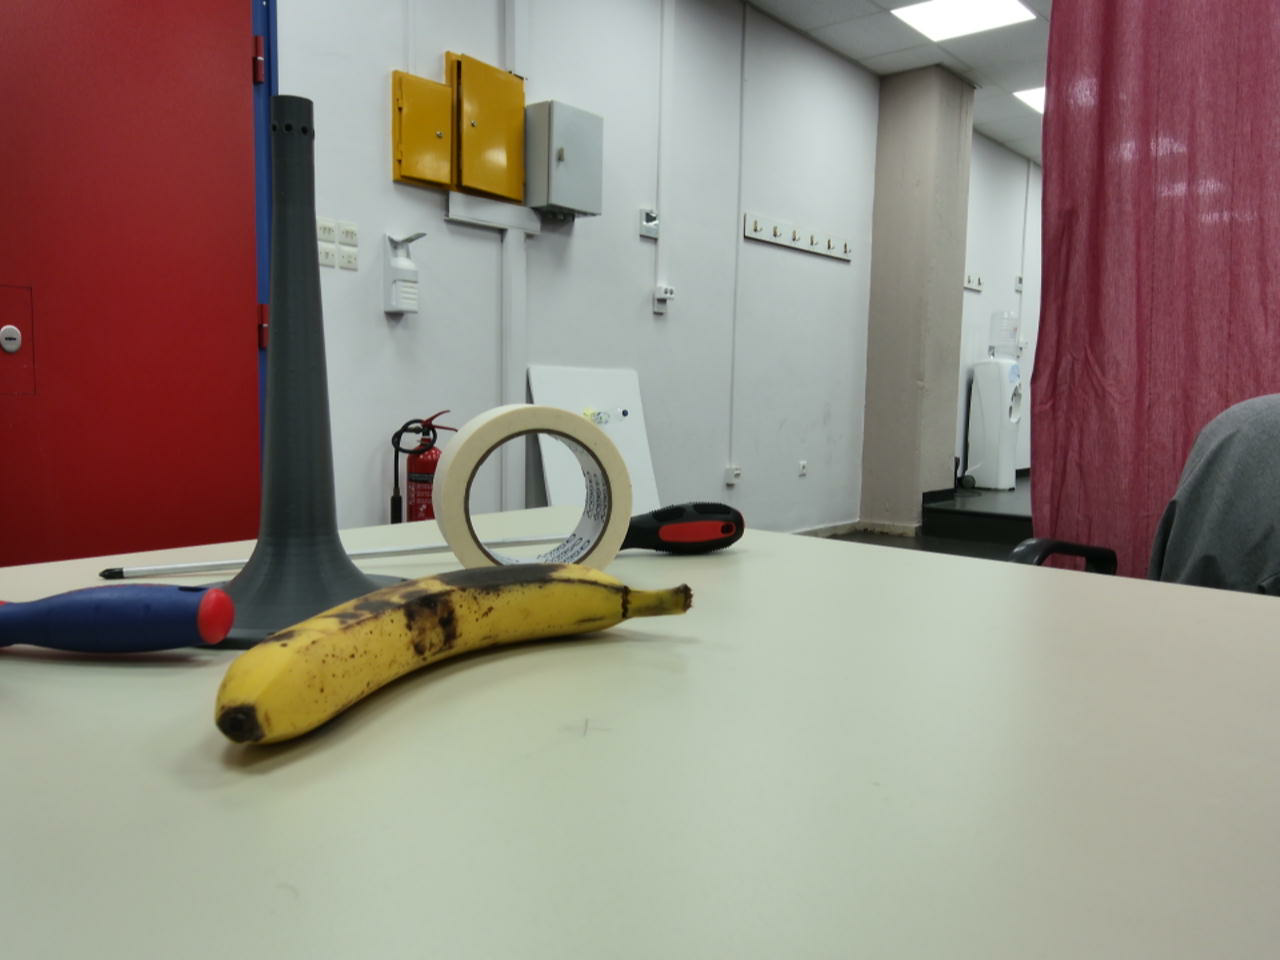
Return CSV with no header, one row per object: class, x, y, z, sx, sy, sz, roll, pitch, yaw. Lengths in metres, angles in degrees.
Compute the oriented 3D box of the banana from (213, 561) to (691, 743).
banana,-0.079,0.061,0.405,0.084,0.037,0.222,3,5,39
